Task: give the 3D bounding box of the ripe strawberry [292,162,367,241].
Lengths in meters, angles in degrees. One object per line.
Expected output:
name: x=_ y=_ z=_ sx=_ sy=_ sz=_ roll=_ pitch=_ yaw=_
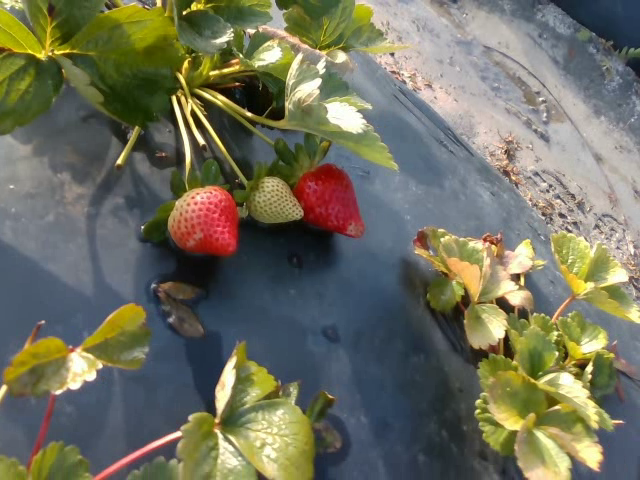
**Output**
ripe strawberry: x=0.009 y=-0.023 z=0.408 sx=0.049 sy=0.065 sz=0.050 roll=-34 pitch=-5 yaw=-2
